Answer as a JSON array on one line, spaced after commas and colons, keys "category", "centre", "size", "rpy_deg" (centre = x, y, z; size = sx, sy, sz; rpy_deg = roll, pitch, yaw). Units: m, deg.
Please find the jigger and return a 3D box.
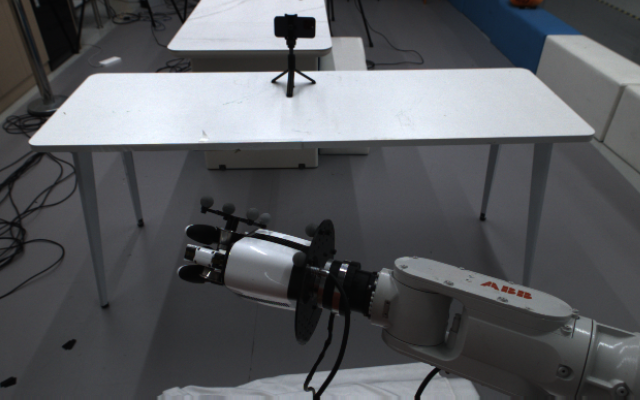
[{"category": "jigger", "centre": [-0.125, 0.073, 0.643], "size": [0.043, 0.071, 0.043], "rpy_deg": [16, -7, 2]}]
